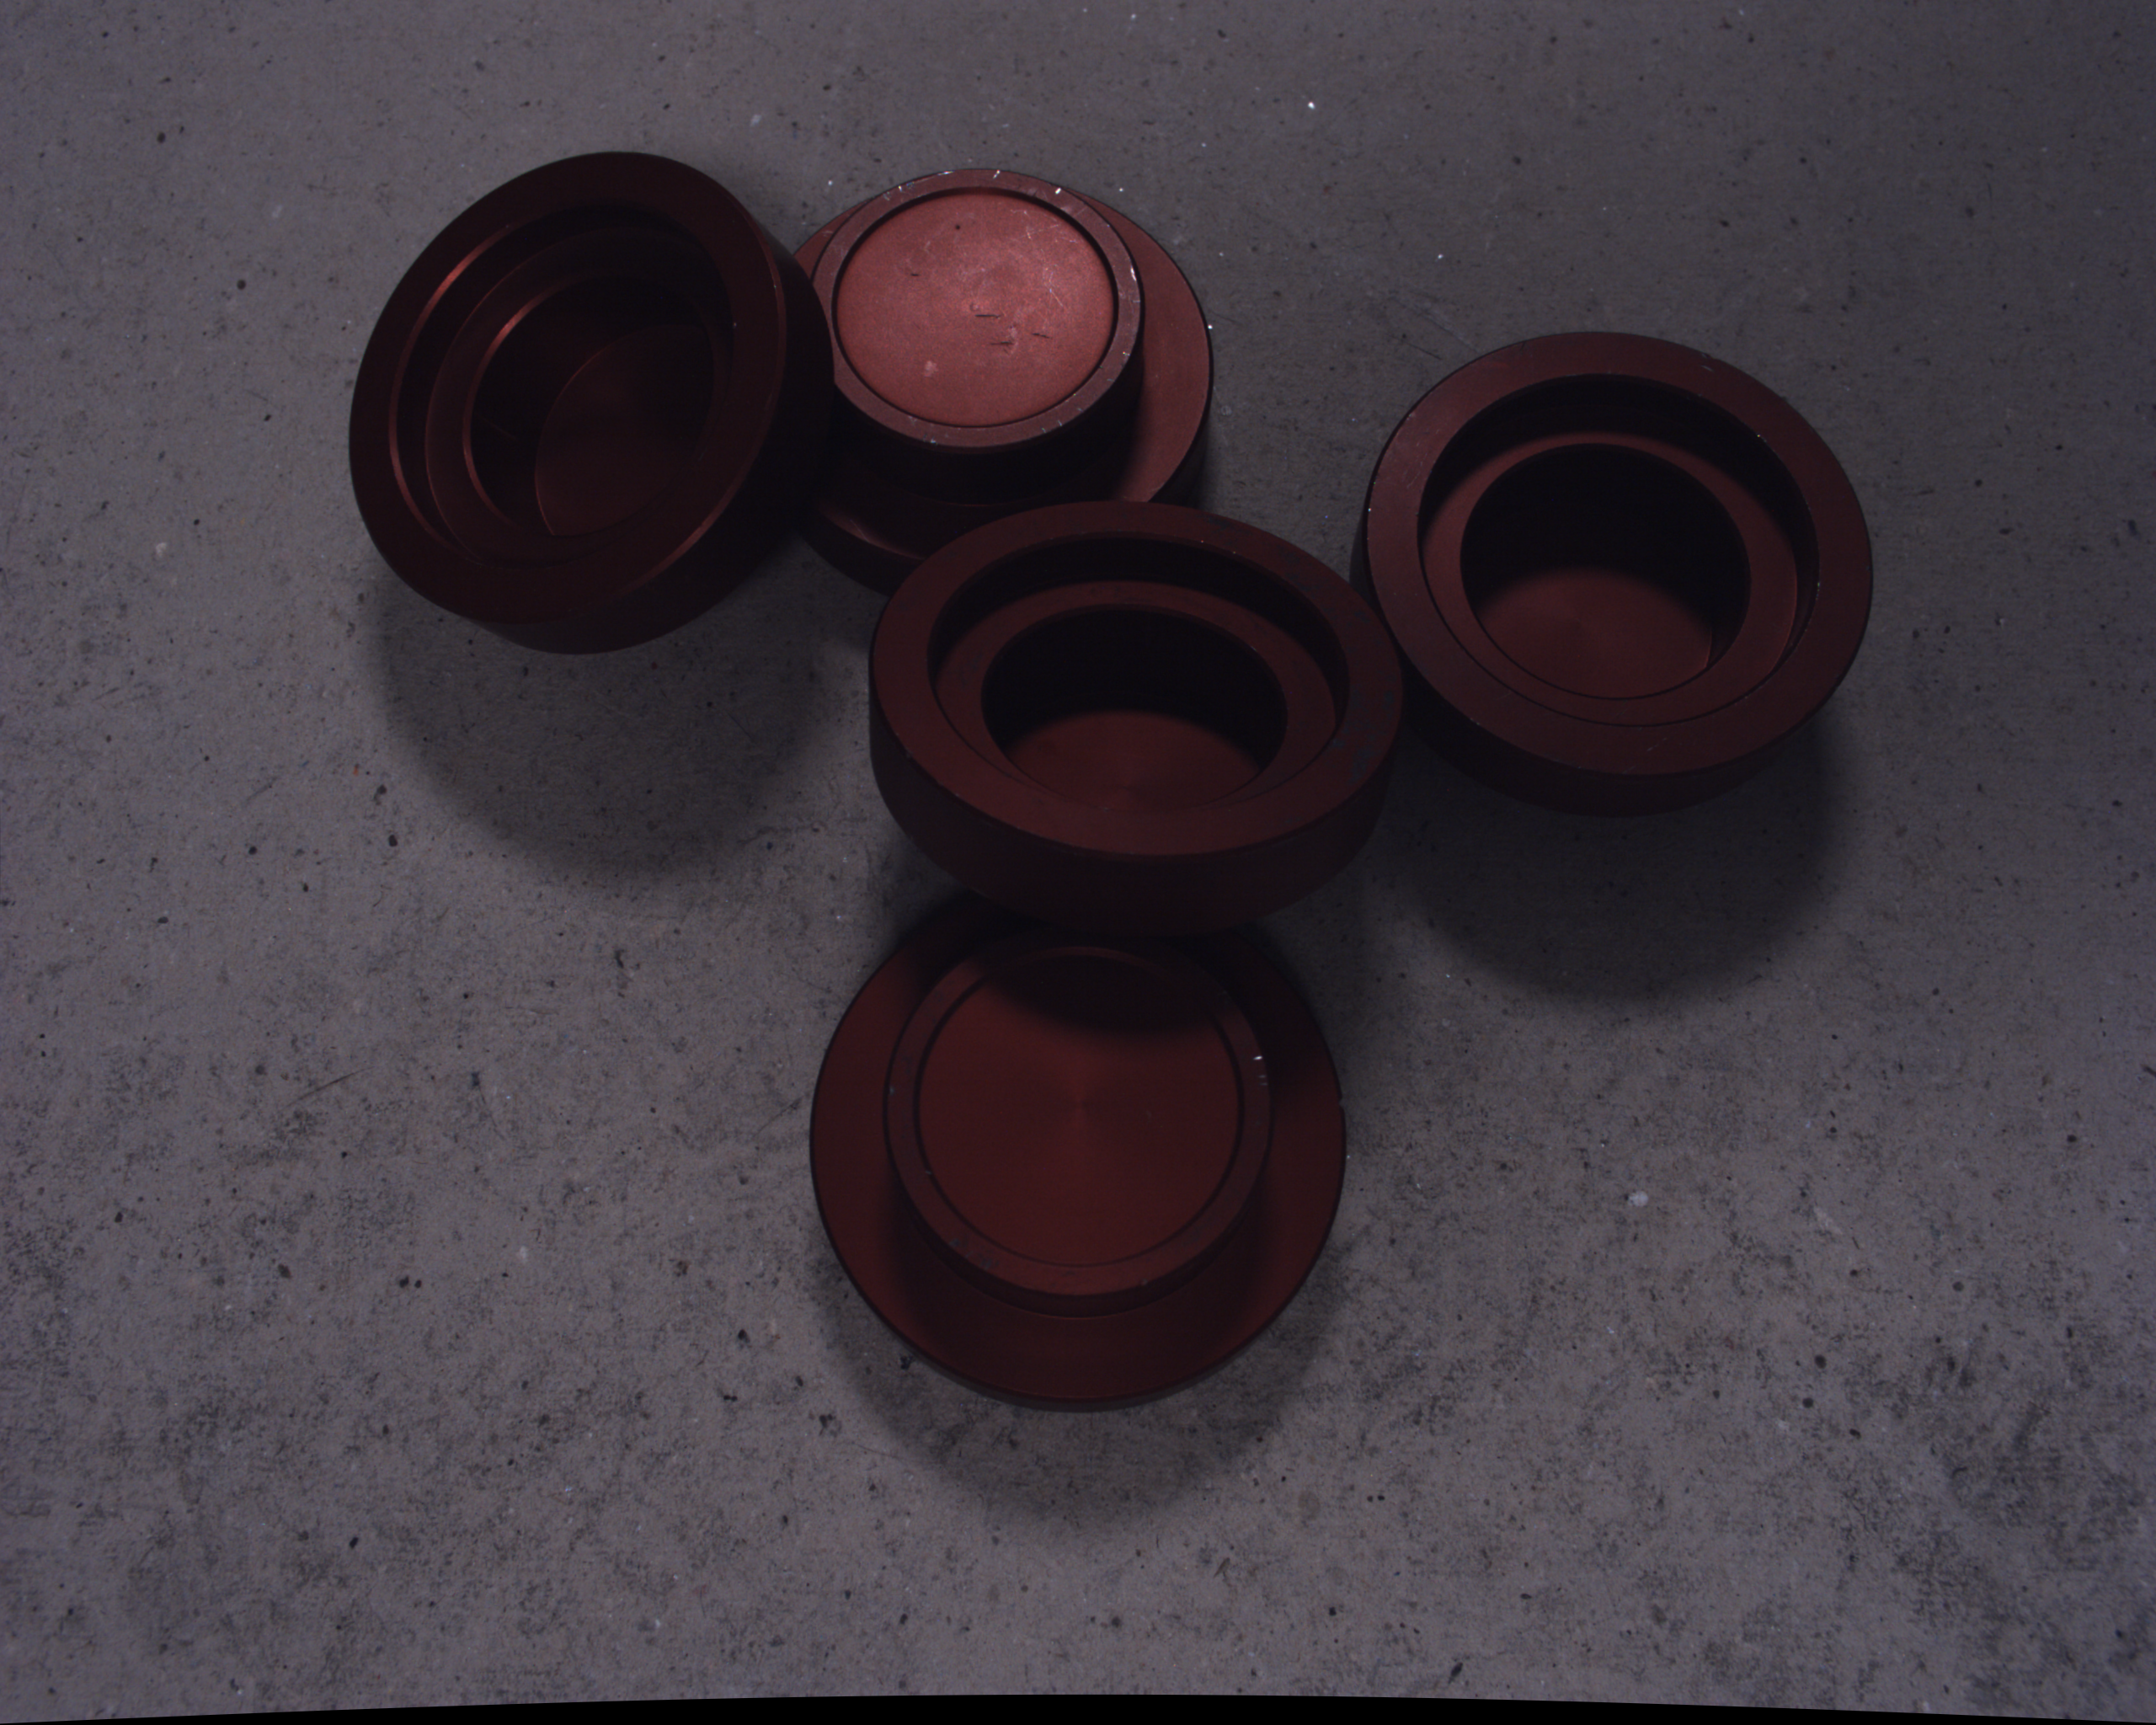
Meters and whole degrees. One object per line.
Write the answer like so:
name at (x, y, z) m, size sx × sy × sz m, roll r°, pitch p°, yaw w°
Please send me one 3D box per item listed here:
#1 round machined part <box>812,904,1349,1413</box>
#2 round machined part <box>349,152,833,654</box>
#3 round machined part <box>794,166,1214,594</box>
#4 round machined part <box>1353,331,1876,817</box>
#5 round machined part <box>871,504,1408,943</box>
round machined part at (0.000, 0.049, 0.382) m, size 0.099 × 0.042 × 0.098 m, roll 0°, pitch 70°, yaw -1°
round machined part at (-0.093, -0.088, 0.420) m, size 0.098 × 0.042 × 0.098 m, roll -5°, pitch 76°, yaw 20°
round machined part at (-0.020, -0.105, 0.438) m, size 0.099 × 0.042 × 0.098 m, roll 0°, pitch 70°, yaw -1°
round machined part at (0.105, -0.054, 0.421) m, size 0.099 × 0.042 × 0.098 m, roll 0°, pitch 70°, yaw -1°
round machined part at (0.011, -0.022, 0.397) m, size 0.099 × 0.042 × 0.098 m, roll 2°, pitch 47°, yaw -2°
